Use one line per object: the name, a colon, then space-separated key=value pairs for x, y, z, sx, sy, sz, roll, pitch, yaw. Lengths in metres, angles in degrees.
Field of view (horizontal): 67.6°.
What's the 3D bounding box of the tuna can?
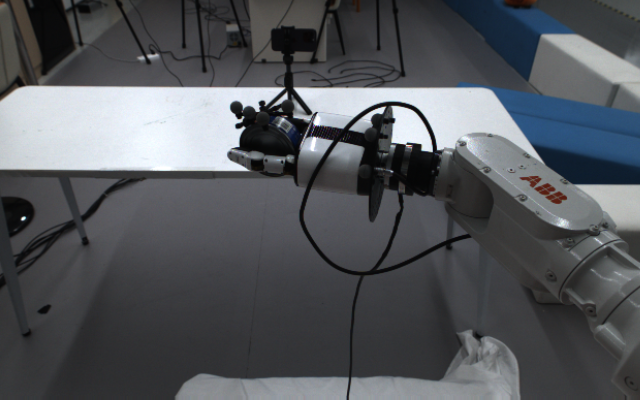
tuna can: x=-0.067 y=-0.077 z=0.681 sx=0.085 sy=0.085 sz=0.034 roll=14 pitch=40 yaw=16
